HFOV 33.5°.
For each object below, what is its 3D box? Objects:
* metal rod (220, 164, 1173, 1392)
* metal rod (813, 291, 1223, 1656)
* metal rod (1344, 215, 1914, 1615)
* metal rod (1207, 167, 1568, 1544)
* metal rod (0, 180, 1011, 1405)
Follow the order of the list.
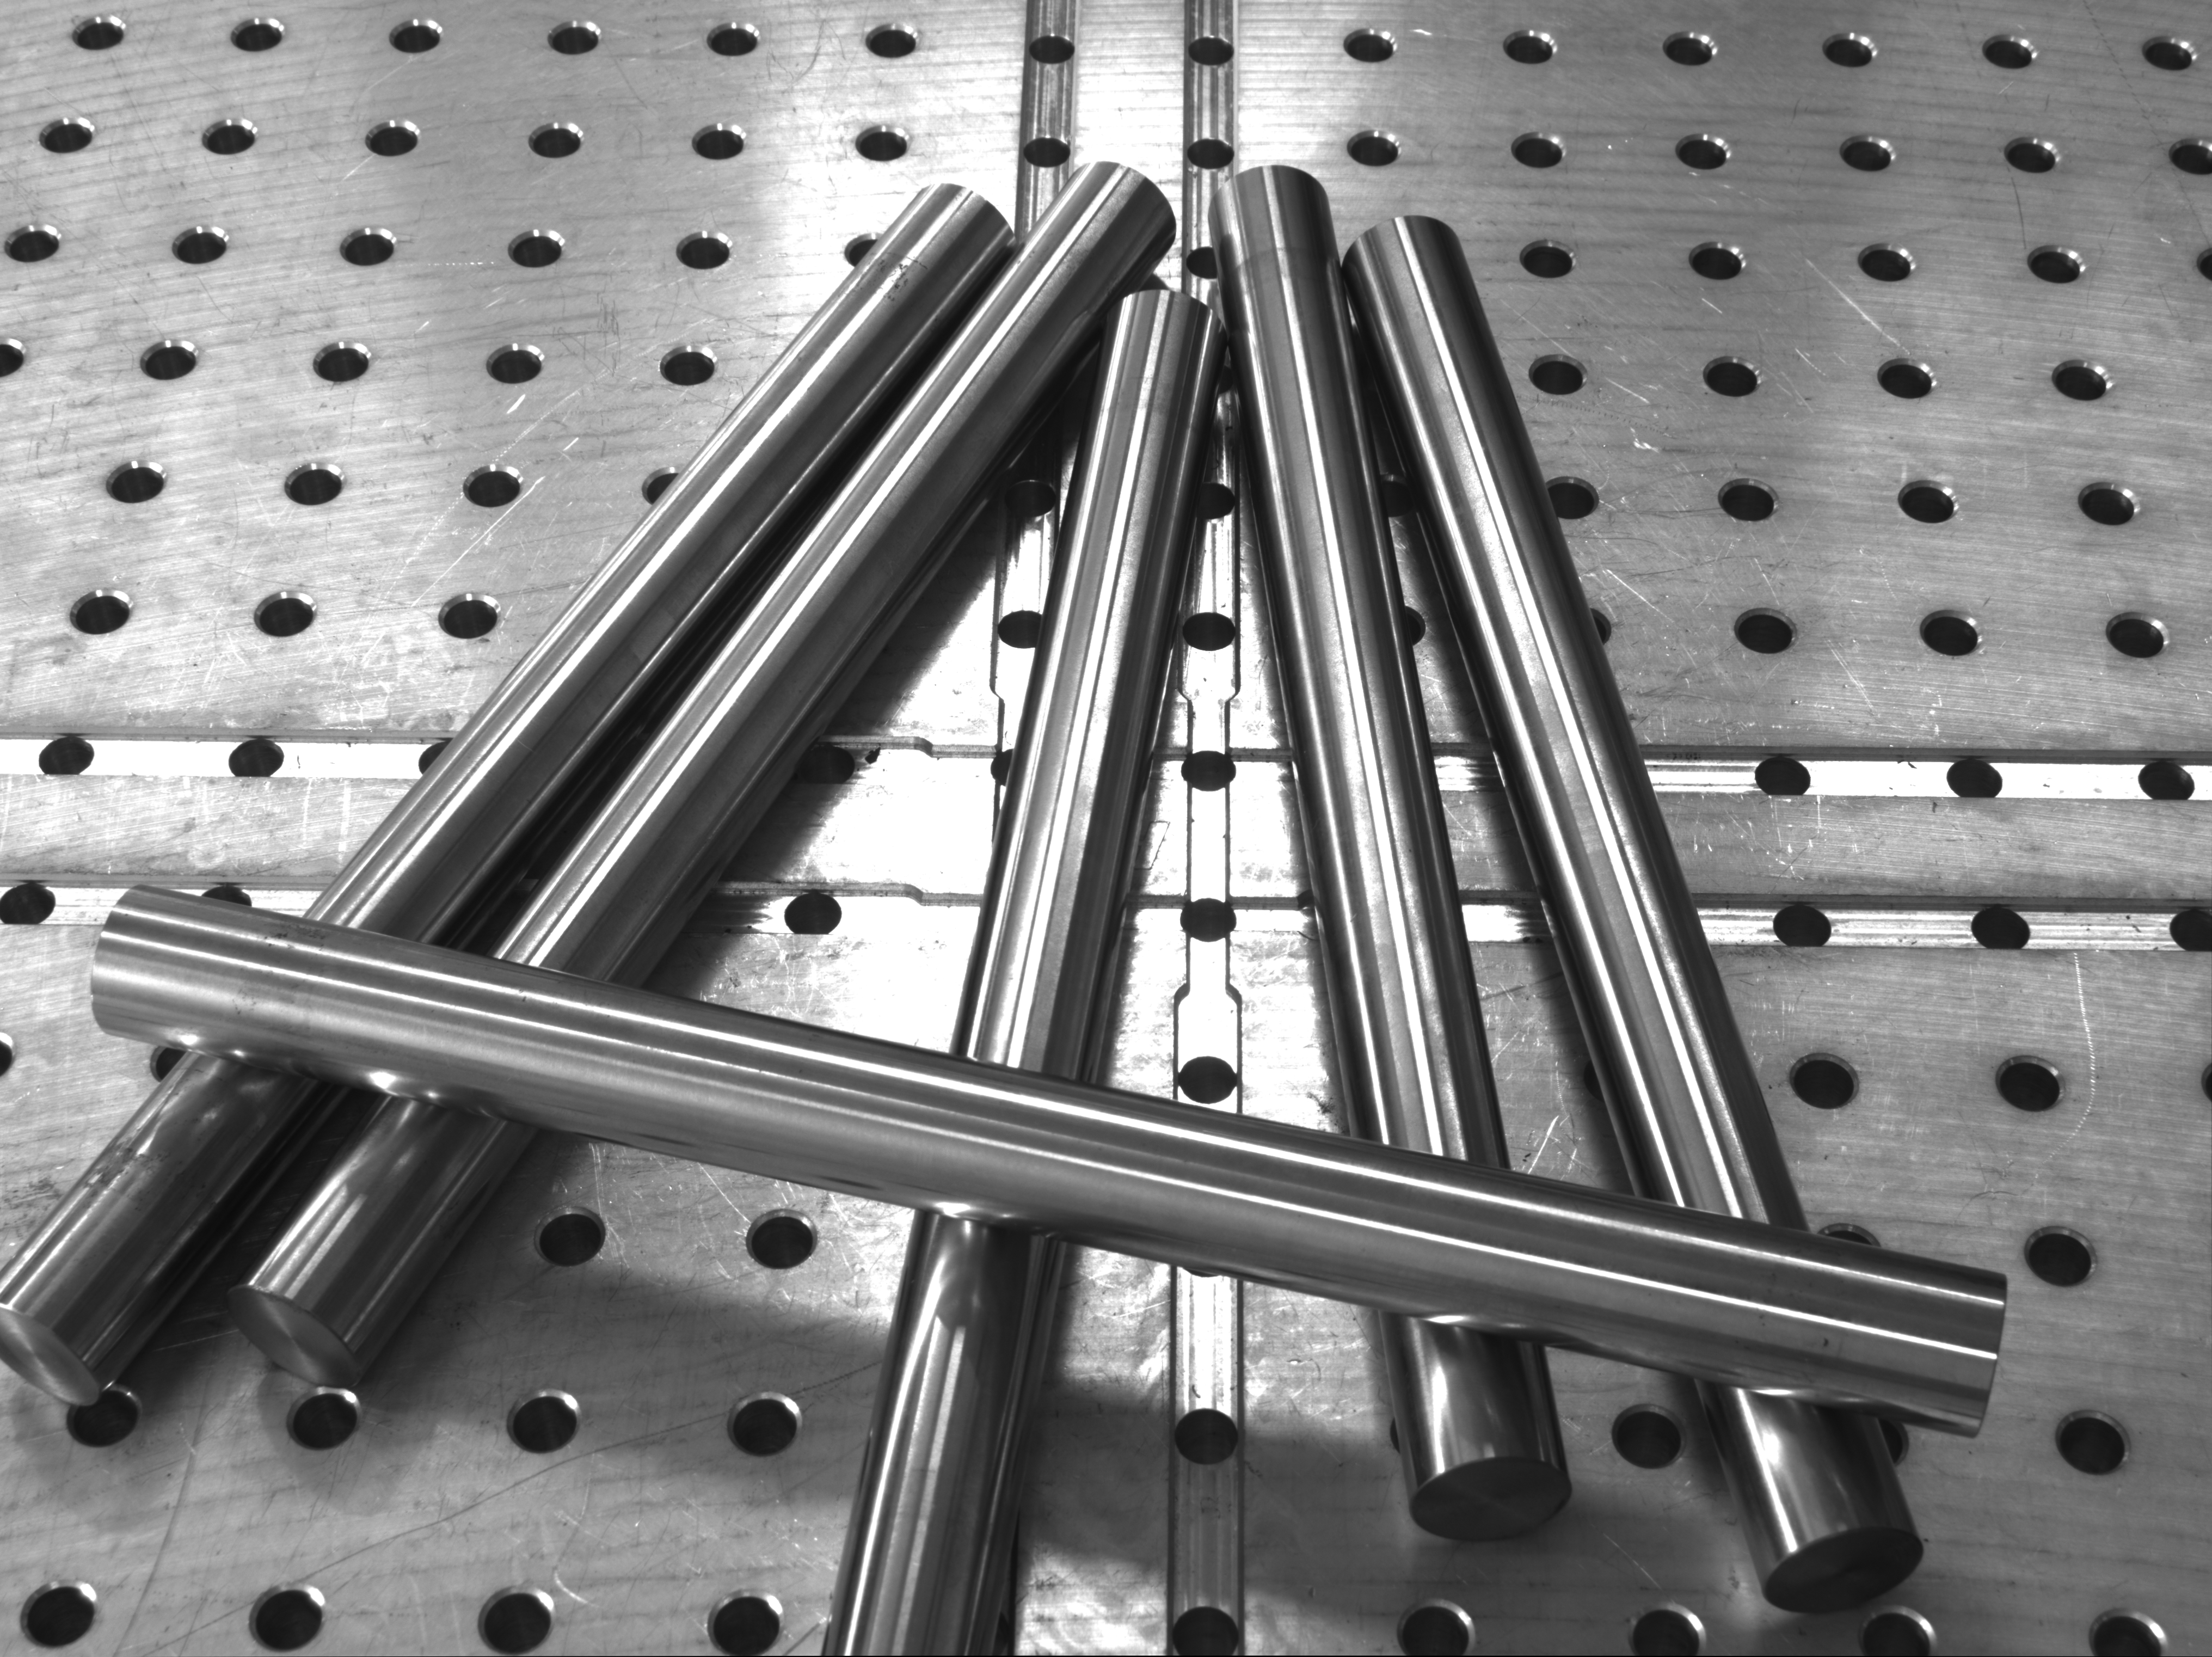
[{"bbox_3d":[-0.063,-0.023,0.665,0.025,0.025,0.300,20,53,17],"label":"metal rod"},{"bbox_3d":[-0.011,0.017,0.632,0.025,0.025,0.300,6,50,5],"label":"metal rod"},{"bbox_3d":[0.084,-0.001,0.646,0.025,0.025,0.300,-7,50,-6],"label":"metal rod"},{"bbox_3d":[0.046,-0.012,0.655,0.025,0.025,0.300,-4,50,-3],"label":"metal rod"},{"bbox_3d":[-0.100,-0.020,0.661,0.025,0.025,0.300,22,53,17],"label":"metal rod"}]
